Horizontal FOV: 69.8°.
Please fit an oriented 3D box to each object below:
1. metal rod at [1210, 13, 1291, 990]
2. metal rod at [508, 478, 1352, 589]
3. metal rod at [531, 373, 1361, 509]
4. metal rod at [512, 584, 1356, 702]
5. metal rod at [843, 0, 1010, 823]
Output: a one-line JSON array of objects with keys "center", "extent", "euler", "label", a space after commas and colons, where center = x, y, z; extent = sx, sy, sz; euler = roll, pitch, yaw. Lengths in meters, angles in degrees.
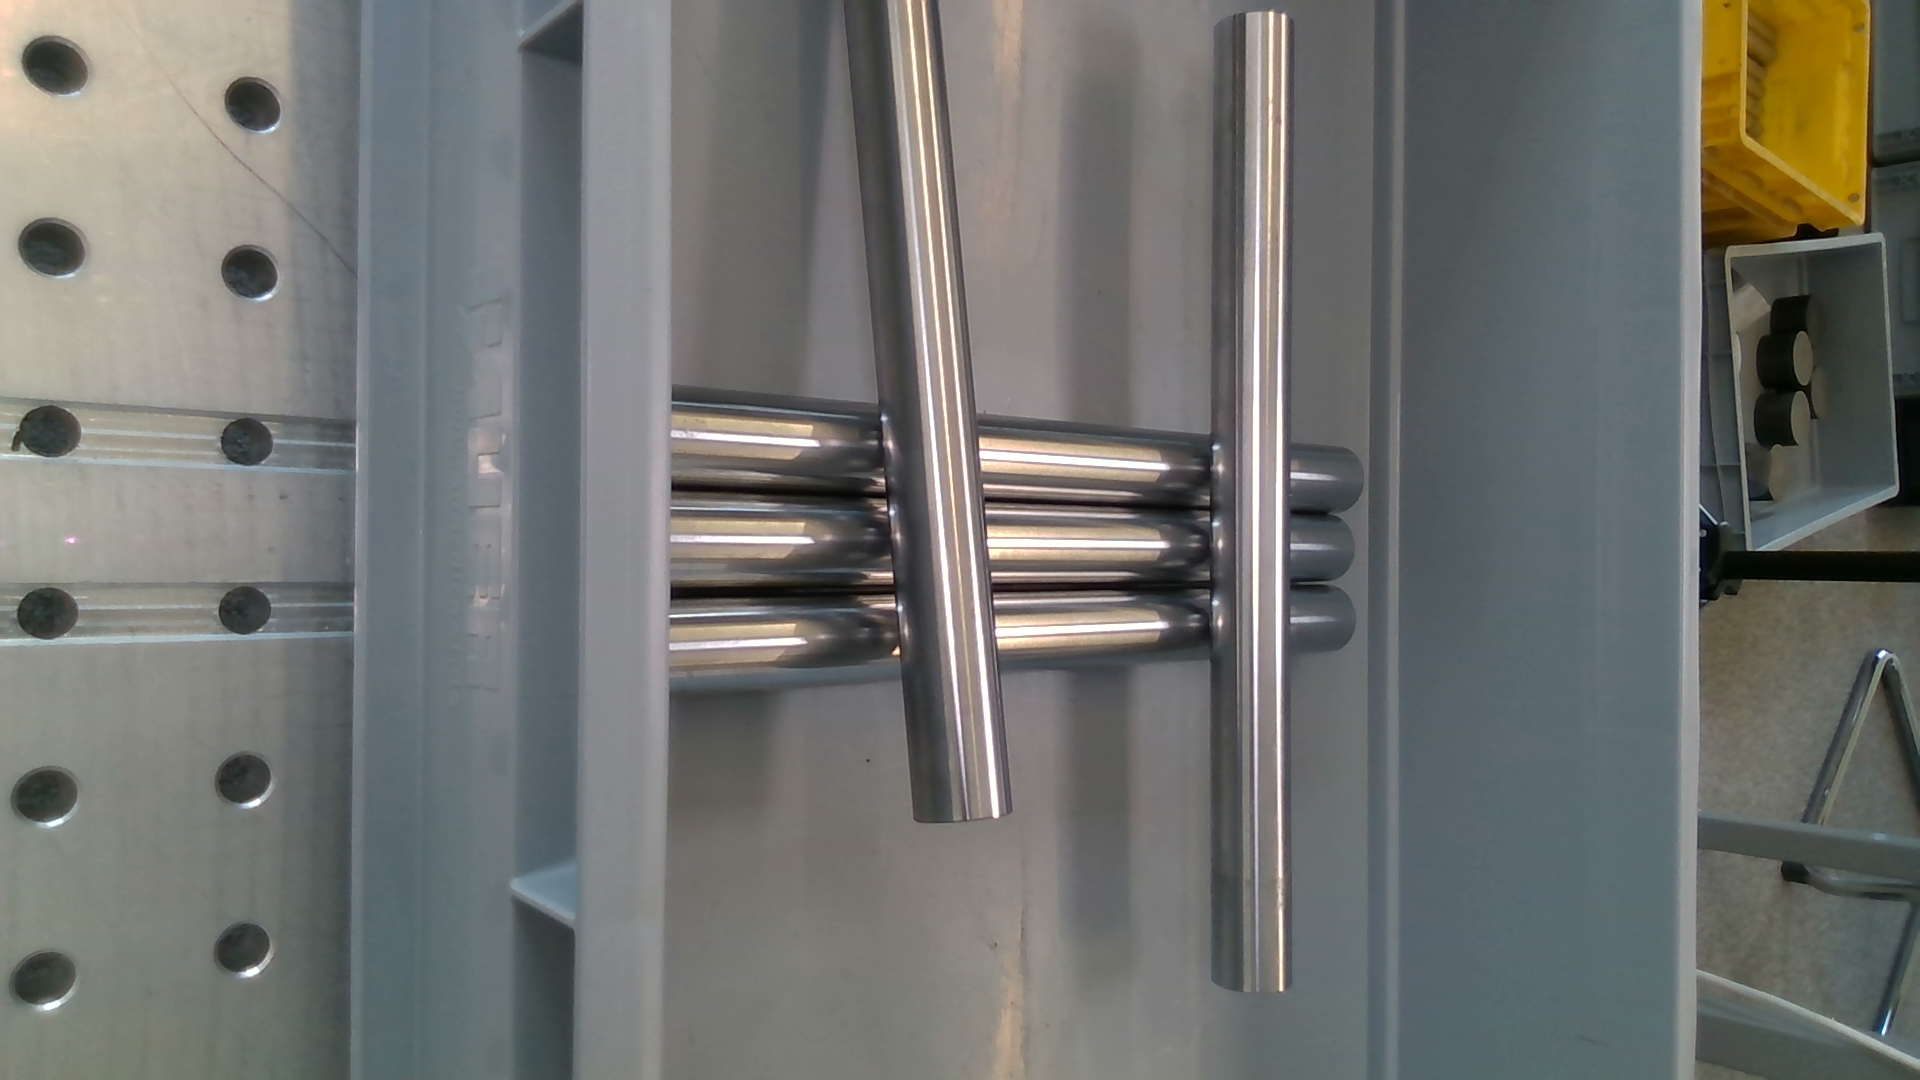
[{"center": [0.091, -0.012, 0.435], "extent": [0.025, 0.025, 0.300], "euler": [0, 90, -40], "label": "metal rod"}, {"center": [0.018, 0.001, 0.406], "extent": [0.300, 0.025, 0.025], "euler": [1, 89, -40], "label": "metal rod"}, {"center": [0.022, -0.024, 0.410], "extent": [0.300, 0.025, 0.025], "euler": [1, 89, -40], "label": "metal rod"}, {"center": [0.019, 0.026, 0.406], "extent": [0.300, 0.025, 0.025], "euler": [1, 89, -40], "label": "metal rod"}, {"center": [-0.013, -0.080, 0.356], "extent": [0.025, 0.025, 0.300], "euler": [-1, 84, -40], "label": "metal rod"}]
